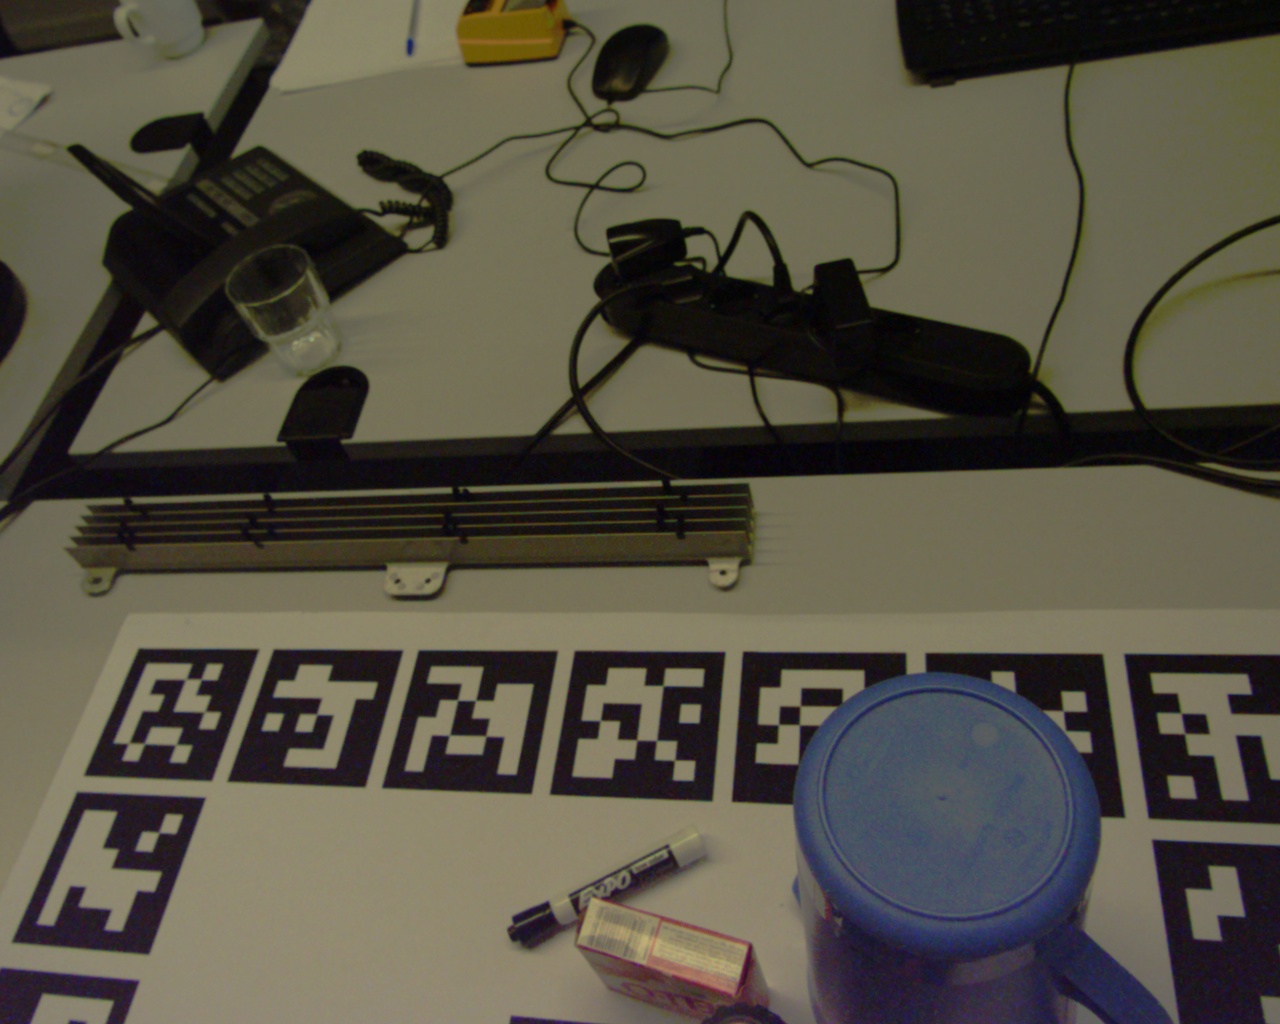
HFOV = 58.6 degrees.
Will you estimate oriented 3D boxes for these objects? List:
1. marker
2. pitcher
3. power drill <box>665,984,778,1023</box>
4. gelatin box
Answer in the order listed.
[{"bbox_3d":[-0.024,0.208,0.679,0.121,0.019,0.020,-24,52,-2],"label":"marker"},{"bbox_3d":[0.145,0.183,0.522,0.191,0.240,0.133,25,67,36],"label":"pitcher"},{"bbox_3d":[0.092,0.282,0.492,0.189,0.183,0.057,33,70,26],"label":"power drill"},{"bbox_3d":[0.019,0.237,0.616,0.090,0.073,0.030,8,61,19],"label":"gelatin box"}]
